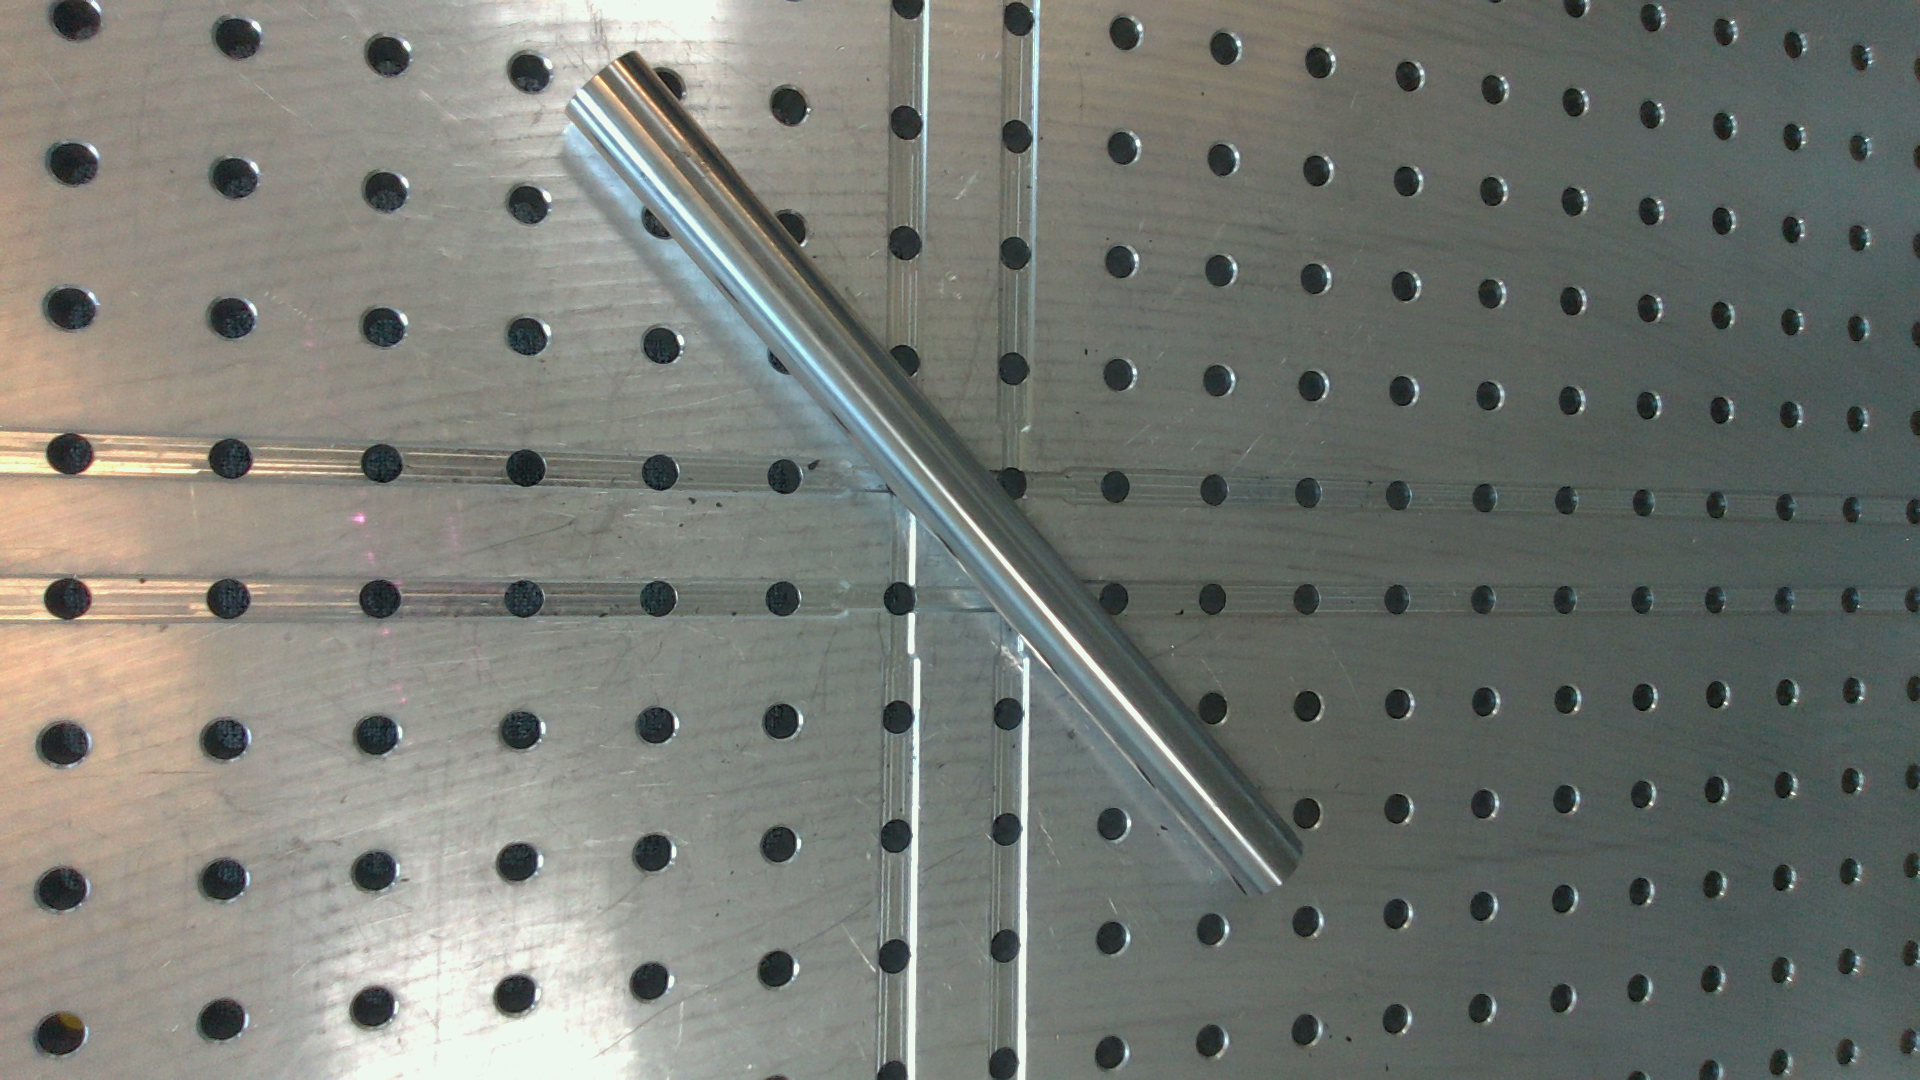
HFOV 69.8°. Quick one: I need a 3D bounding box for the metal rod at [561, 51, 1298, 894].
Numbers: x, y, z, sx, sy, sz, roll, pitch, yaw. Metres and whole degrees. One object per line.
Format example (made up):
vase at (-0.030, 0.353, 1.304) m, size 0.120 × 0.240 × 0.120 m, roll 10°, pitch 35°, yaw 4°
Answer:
metal rod at (0.000, -0.010, 0.396) m, size 0.025 × 0.025 × 0.300 m, roll -44°, pitch 104°, yaw -14°
